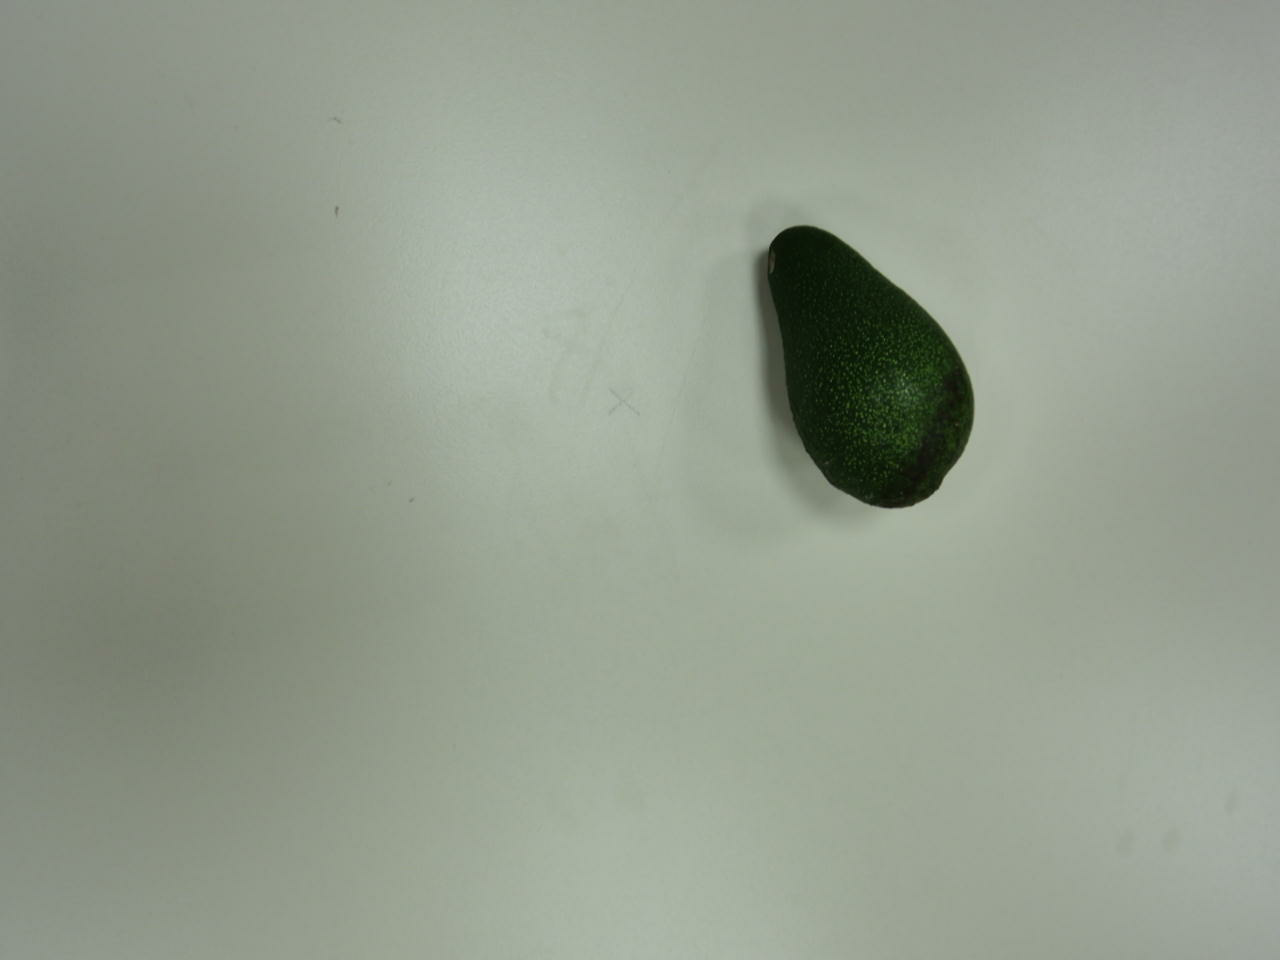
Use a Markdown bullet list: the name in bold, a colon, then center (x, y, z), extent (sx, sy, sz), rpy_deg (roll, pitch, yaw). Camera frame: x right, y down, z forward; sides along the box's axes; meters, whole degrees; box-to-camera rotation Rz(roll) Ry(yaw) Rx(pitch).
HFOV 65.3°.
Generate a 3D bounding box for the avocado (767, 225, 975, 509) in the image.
- **avocado**: center (0.099, -0.049, 0.416), extent (0.074, 0.076, 0.123), rpy_deg (-5, 91, -11)
